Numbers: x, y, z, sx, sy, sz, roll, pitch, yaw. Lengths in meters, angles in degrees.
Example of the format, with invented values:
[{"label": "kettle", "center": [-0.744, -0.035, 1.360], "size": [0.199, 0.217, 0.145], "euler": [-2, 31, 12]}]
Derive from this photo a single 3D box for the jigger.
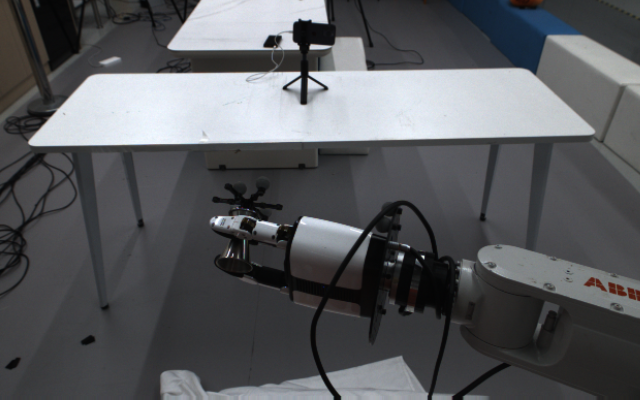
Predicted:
[{"label": "jigger", "center": [-0.100, 0.047, 0.586], "size": [0.043, 0.043, 0.071], "euler": [6, 60, 5]}]
